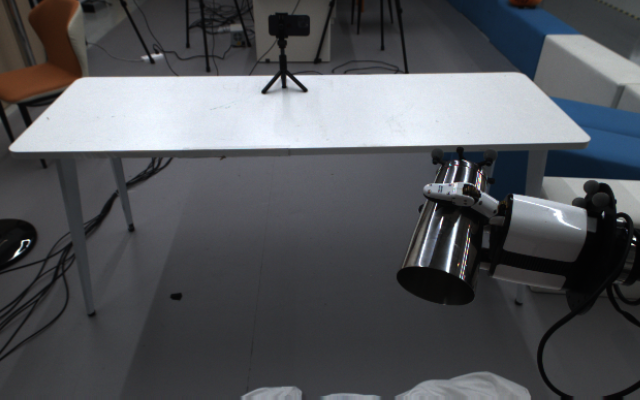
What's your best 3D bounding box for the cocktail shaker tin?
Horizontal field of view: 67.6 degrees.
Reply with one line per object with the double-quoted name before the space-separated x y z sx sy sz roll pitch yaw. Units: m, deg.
"cocktail shaker tin" 0.162 0.032 0.604 0.093 0.093 0.170 14 57 16
